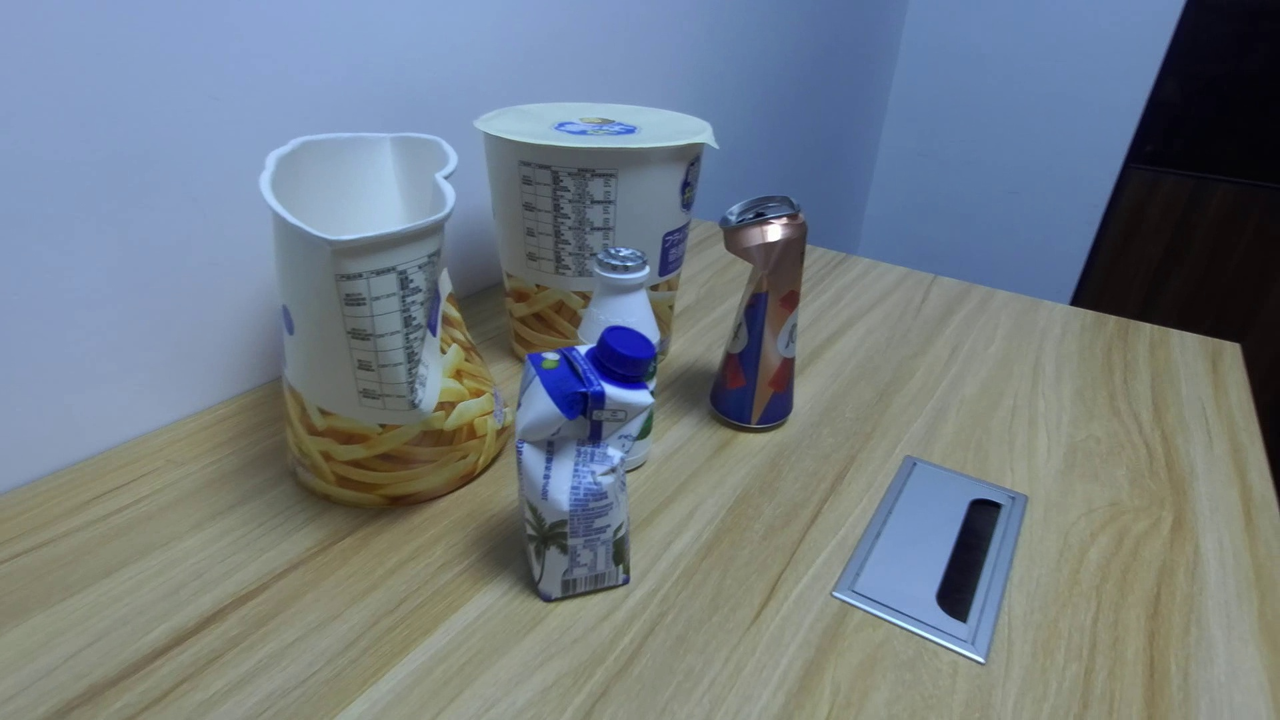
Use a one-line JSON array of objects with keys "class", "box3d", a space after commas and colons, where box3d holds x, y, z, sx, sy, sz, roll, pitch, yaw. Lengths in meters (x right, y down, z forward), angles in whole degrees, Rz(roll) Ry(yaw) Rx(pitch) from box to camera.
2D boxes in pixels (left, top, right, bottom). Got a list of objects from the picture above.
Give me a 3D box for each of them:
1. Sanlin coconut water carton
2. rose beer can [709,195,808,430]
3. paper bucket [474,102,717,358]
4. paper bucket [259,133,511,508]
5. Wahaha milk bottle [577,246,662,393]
[{"class": "Sanlin coconut water carton", "box3d": [-0.030, 0.054, 0.367, 0.070, 0.144, 0.060, -5, 30, -18]}, {"class": "rose beer can", "box3d": [0.088, -0.031, 0.514, 0.070, 0.168, 0.069, -21, 33, -35]}, {"class": "paper bucket", "box3d": [-0.039, -0.103, 0.602, 0.198, 0.194, 0.198, 2, 29, -1]}, {"class": "paper bucket", "box3d": [-0.160, -0.030, 0.452, 0.148, 0.199, 0.217, -21, 36, -38]}, {"class": "Wahaha milk bottle", "box3d": [-0.014, 0.002, 0.462, 0.053, 0.147, 0.053, 2, 32, -1]}]
